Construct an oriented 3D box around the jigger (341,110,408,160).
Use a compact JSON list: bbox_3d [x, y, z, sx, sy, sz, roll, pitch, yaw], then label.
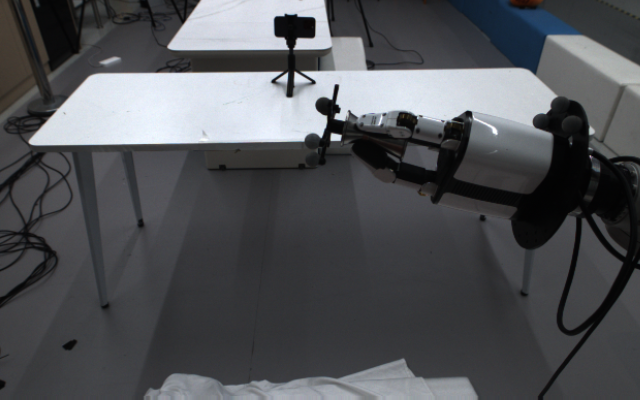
[{"bbox_3d":[0.063,-0.075,0.525,0.071,0.043,0.043,13,36,3],"label":"jigger"}]
